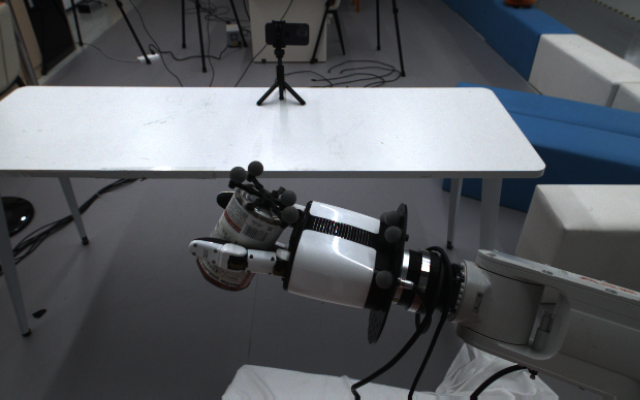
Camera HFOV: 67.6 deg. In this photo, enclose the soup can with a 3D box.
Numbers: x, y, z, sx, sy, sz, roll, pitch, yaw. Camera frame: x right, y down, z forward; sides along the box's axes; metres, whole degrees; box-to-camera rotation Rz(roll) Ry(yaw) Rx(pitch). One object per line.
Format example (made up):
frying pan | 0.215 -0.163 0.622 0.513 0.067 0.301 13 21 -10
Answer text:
soup can | -0.083 0.042 0.538 0.067 0.101 0.067 28 22 -12
